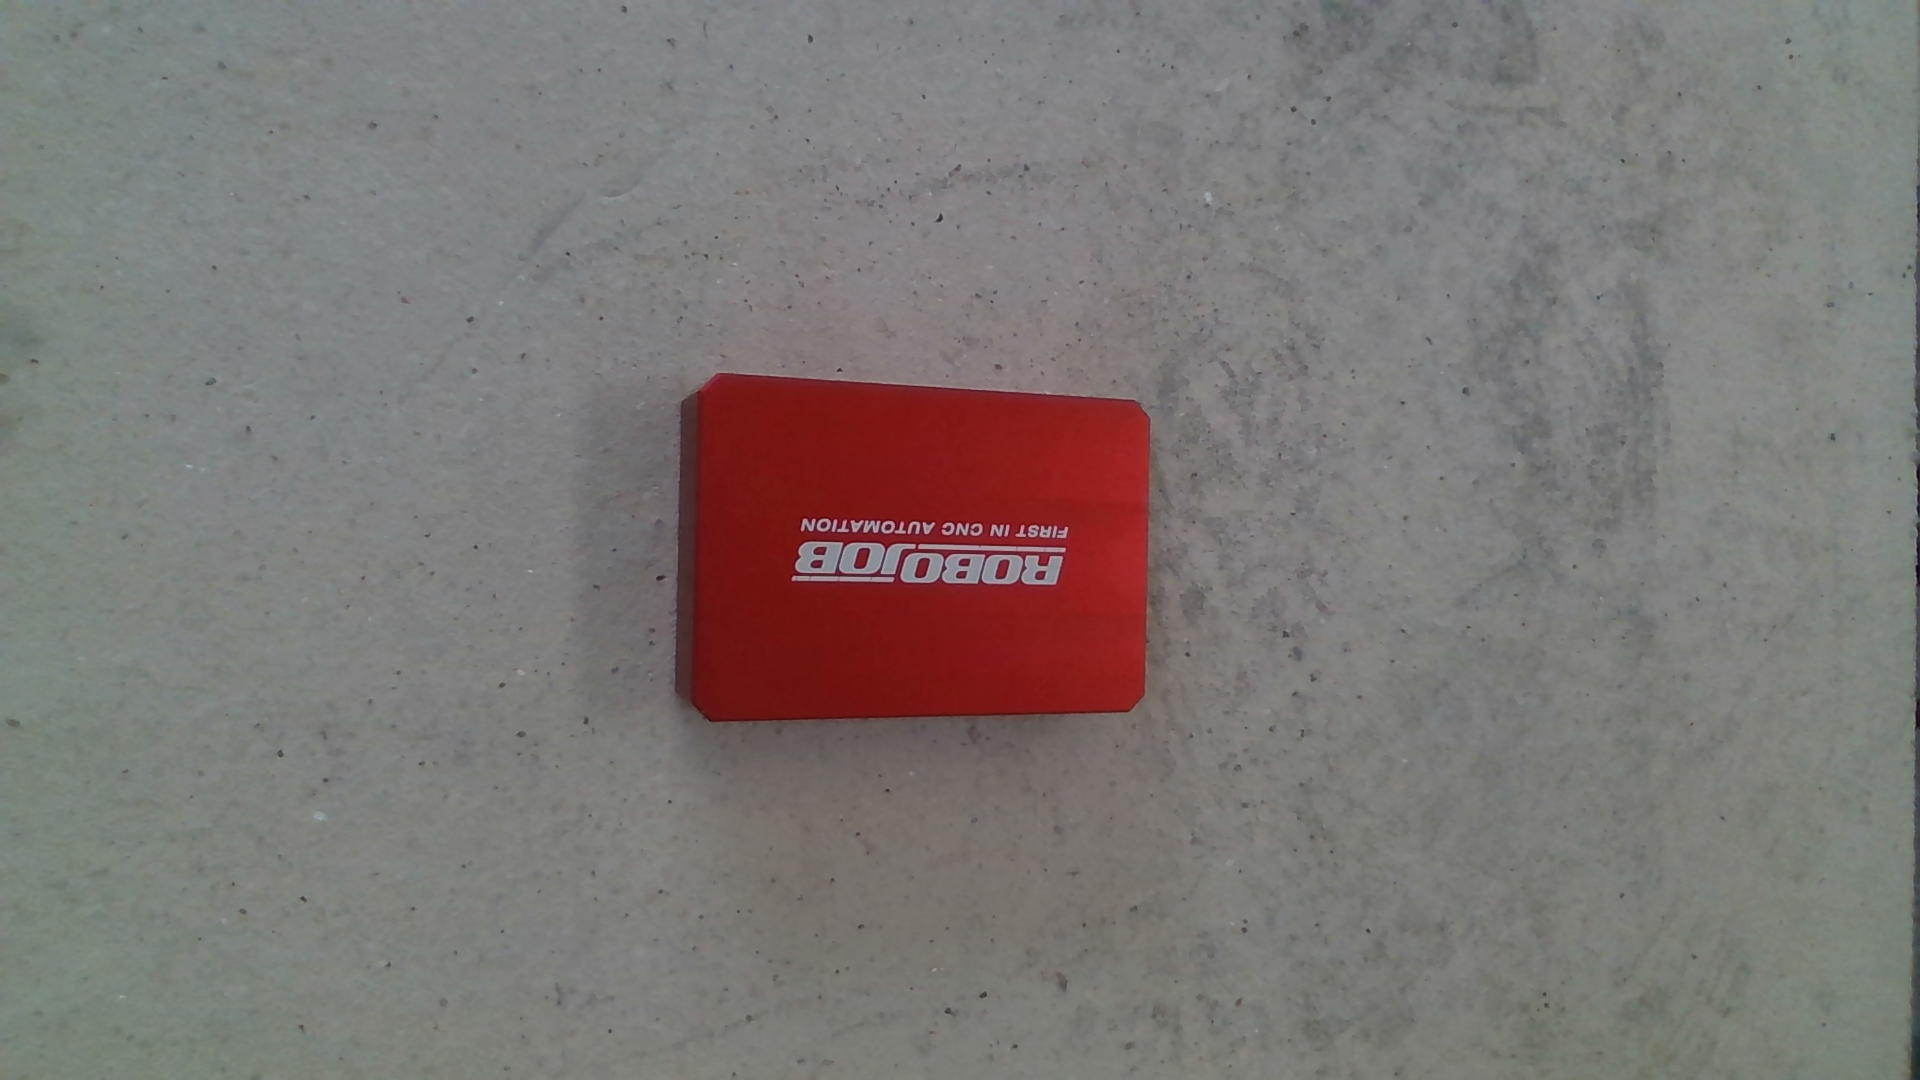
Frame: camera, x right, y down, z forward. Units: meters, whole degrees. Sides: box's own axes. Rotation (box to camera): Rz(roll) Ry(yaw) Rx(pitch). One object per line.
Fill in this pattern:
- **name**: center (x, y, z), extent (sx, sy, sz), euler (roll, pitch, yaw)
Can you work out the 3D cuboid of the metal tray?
- **metal tray**: center (-0.012, 0.003, 0.387), extent (0.130, 0.030, 0.090), euler (1, 90, -20)
